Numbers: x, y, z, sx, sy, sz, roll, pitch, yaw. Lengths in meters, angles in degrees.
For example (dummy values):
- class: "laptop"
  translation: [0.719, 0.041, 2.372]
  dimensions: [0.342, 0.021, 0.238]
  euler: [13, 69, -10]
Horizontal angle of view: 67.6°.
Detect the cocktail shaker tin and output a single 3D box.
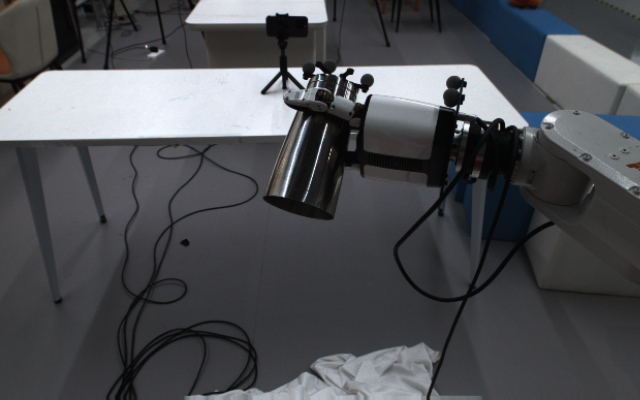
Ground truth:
- class: "cocktail shaker tin"
  translation: [-0.002, -0.072, 0.616]
  dimensions: [0.093, 0.093, 0.170]
  euler: [13, 77, 15]
